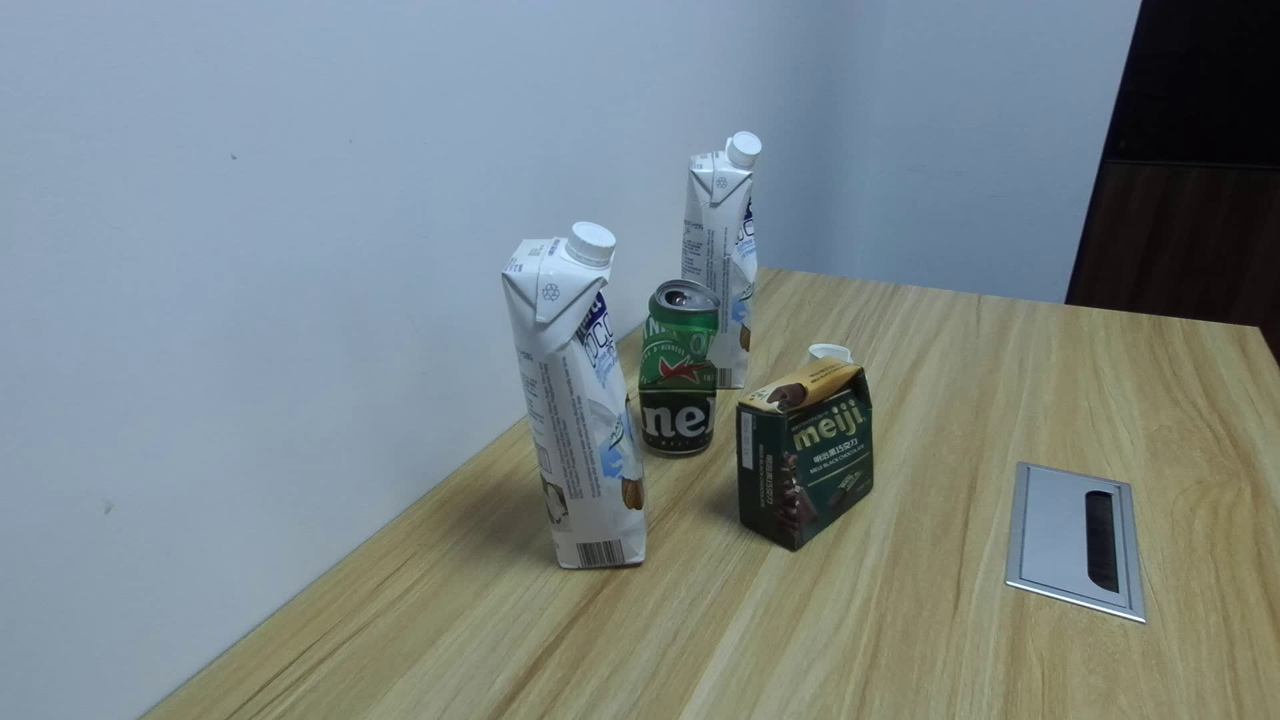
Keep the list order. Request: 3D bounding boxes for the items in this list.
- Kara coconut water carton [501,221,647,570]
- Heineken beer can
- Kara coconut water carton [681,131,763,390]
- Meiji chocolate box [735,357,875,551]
[{"bbox_3d":[-0.039,0.027,0.494,0.071,0.244,0.099,-4,28,5],"label":"Kara coconut water carton"},{"bbox_3d":[0.032,0.010,0.620,0.078,0.159,0.067,17,34,25],"label":"Heineken beer can"},{"bbox_3d":[0.079,-0.097,0.714,0.078,0.256,0.083,7,28,17],"label":"Kara coconut water carton"},{"bbox_3d":[0.130,0.070,0.550,0.058,0.111,0.113,13,27,43],"label":"Meiji chocolate box"}]
